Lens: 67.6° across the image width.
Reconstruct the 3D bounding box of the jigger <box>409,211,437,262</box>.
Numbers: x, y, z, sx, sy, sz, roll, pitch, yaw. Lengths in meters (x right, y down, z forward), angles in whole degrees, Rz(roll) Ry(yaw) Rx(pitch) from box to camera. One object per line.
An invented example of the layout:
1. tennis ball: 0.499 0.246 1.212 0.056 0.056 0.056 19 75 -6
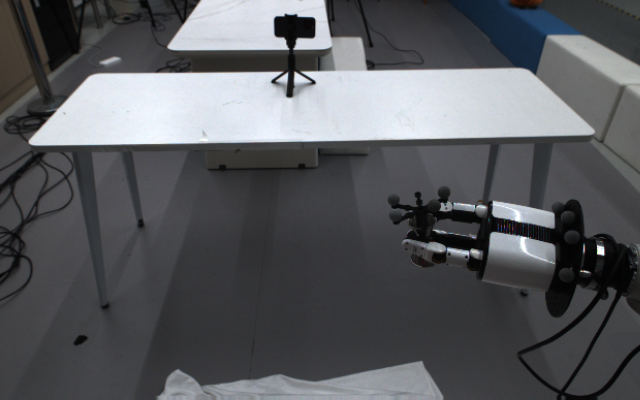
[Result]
1. jigger: 0.149 0.056 0.691 0.043 0.071 0.043 -10 31 6
